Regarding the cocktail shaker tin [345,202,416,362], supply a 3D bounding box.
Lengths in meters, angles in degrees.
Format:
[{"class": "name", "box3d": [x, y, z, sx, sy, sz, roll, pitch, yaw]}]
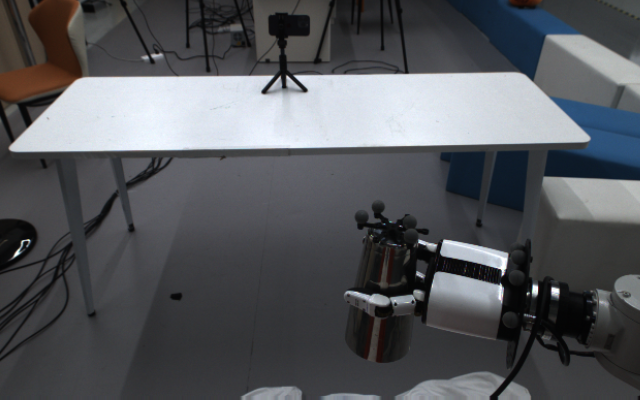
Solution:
[{"class": "cocktail shaker tin", "box3d": [0.087, 0.118, 0.642, 0.093, 0.170, 0.093, 2, 25, -1]}]
